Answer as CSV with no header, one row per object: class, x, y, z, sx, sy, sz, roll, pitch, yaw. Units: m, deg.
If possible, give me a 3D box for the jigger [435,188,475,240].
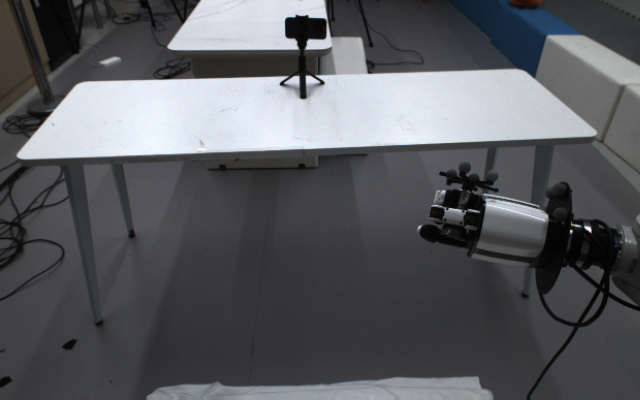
jigger,0.204,0.020,0.704,0.043,0.071,0.043,19,-6,2
